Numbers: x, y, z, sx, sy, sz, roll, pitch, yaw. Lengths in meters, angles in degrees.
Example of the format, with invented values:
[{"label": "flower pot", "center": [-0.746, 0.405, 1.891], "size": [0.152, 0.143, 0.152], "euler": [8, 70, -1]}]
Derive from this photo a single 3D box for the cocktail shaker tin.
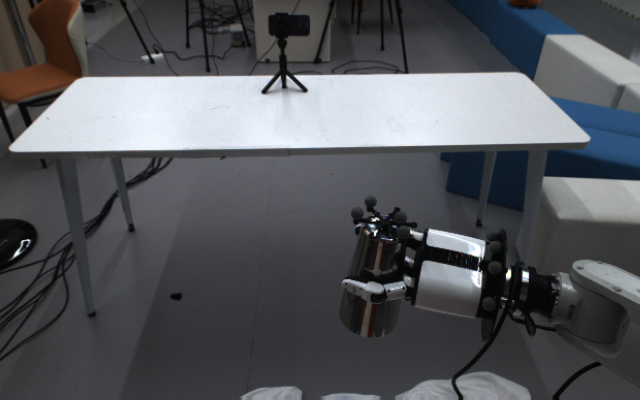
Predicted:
[{"label": "cocktail shaker tin", "center": [0.083, 0.108, 0.715], "size": [0.093, 0.170, 0.093], "euler": [4, 32, -2]}]
